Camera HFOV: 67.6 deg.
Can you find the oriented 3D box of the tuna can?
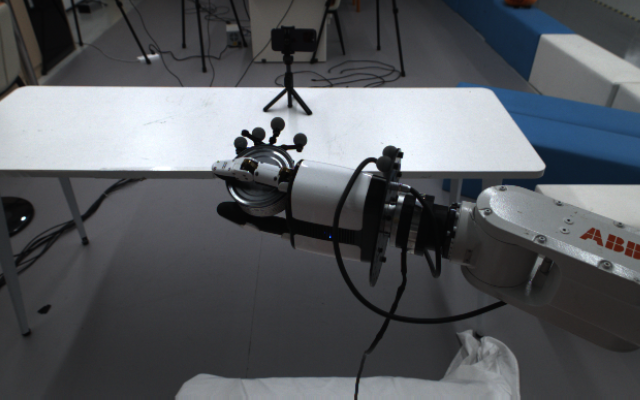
[{"bbox_3d":[-0.068,-0.023,0.590,0.085,0.034,0.085,-6,61,10],"label":"tuna can"}]
